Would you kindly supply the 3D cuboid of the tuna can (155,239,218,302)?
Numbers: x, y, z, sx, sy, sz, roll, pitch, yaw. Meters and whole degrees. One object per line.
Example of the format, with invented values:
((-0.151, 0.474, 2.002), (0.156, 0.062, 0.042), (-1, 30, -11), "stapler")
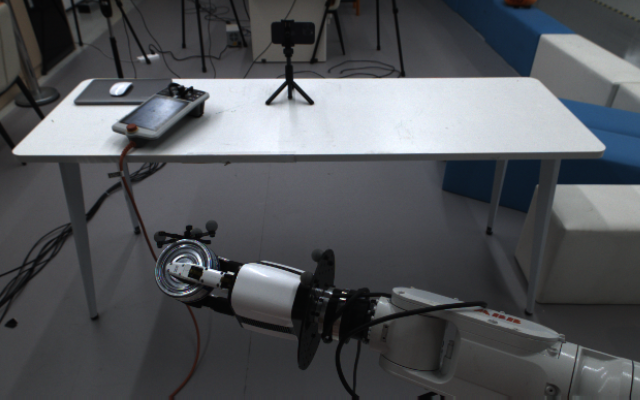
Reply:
((-0.183, 0.104, 0.677), (0.085, 0.034, 0.085), (-4, 68, 9), "tuna can")
